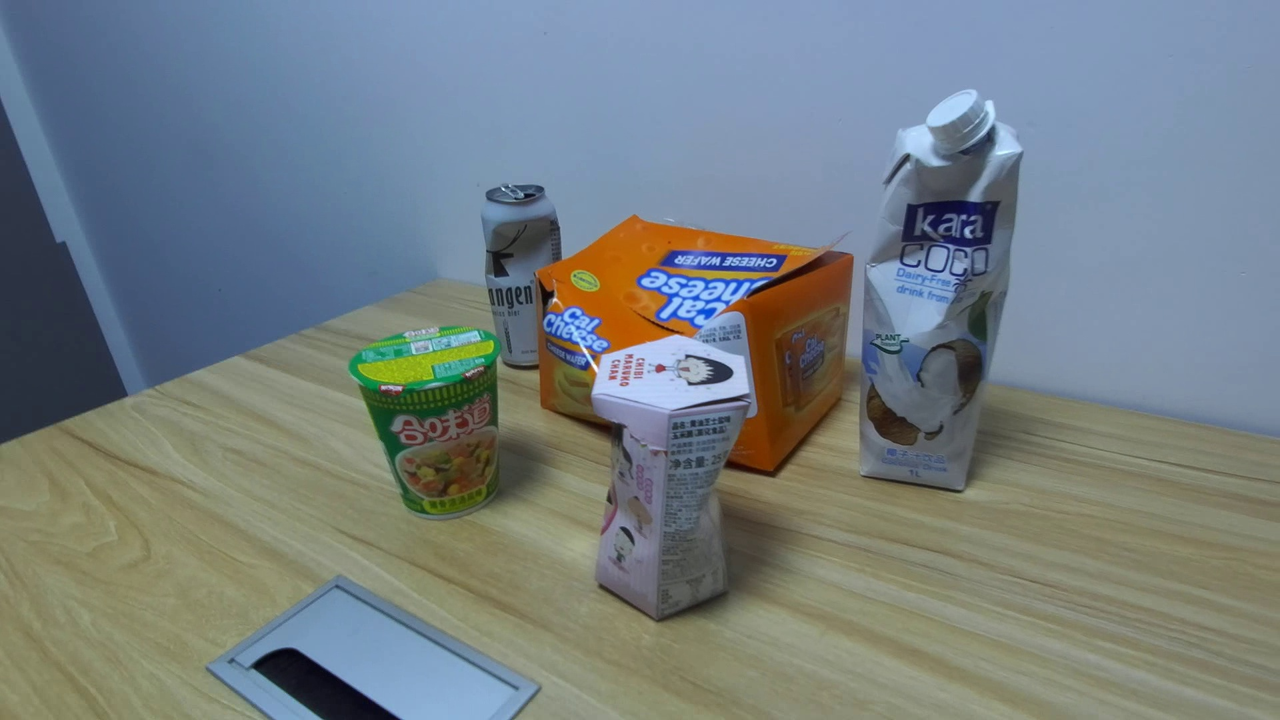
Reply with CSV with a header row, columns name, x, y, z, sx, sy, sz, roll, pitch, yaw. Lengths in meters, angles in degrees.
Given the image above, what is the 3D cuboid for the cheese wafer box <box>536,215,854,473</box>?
name,x,y,z,sx,sy,sz,roll,pitch,yaw
cheese wafer box,0.035,-0.024,0.571,0.218,0.145,0.192,14,30,32

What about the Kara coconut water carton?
name,x,y,z,sx,sy,sz,roll,pitch,yaw
Kara coconut water carton,0.190,-0.040,0.458,0.083,0.256,0.078,14,32,32

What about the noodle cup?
name,x,y,z,sx,sy,sz,roll,pitch,yaw
noodle cup,-0.138,0.045,0.485,0.097,0.110,0.097,-1,25,1

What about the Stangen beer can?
name,x,y,z,sx,sy,sz,roll,pitch,yaw
Stangen beer can,-0.110,-0.078,0.673,0.070,0.173,0.070,12,29,30

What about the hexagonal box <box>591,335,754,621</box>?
name,x,y,z,sx,sy,sz,roll,pitch,yaw
hexagonal box,0.019,0.064,0.398,0.089,0.134,0.091,24,35,39
